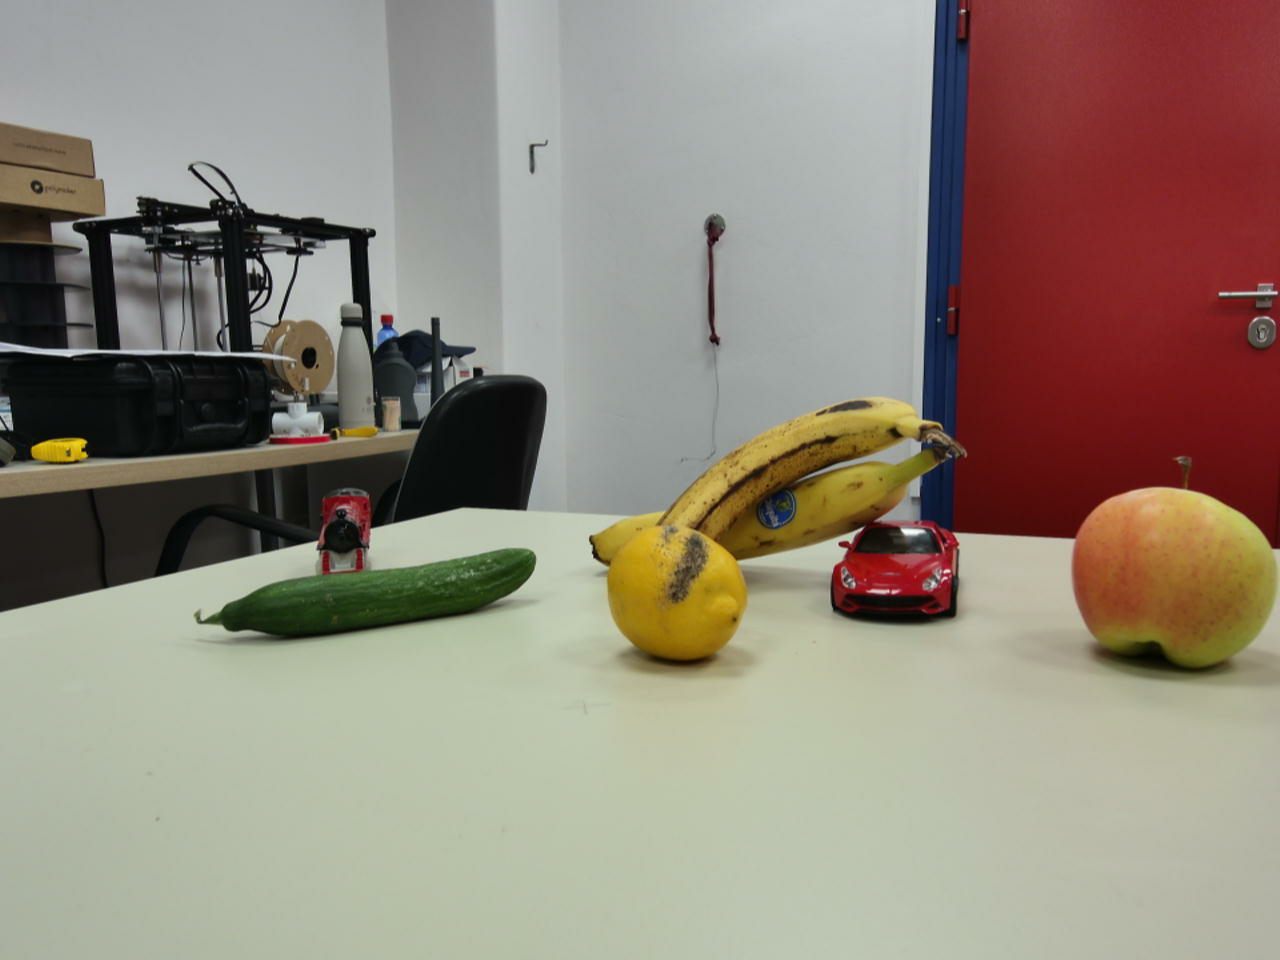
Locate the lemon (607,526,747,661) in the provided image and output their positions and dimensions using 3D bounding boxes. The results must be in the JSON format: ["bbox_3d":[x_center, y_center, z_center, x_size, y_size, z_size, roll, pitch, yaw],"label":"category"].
[{"bbox_3d":[0.016,0.049,0.432,0.061,0.056,0.058,2,4,17],"label":"lemon"}]
